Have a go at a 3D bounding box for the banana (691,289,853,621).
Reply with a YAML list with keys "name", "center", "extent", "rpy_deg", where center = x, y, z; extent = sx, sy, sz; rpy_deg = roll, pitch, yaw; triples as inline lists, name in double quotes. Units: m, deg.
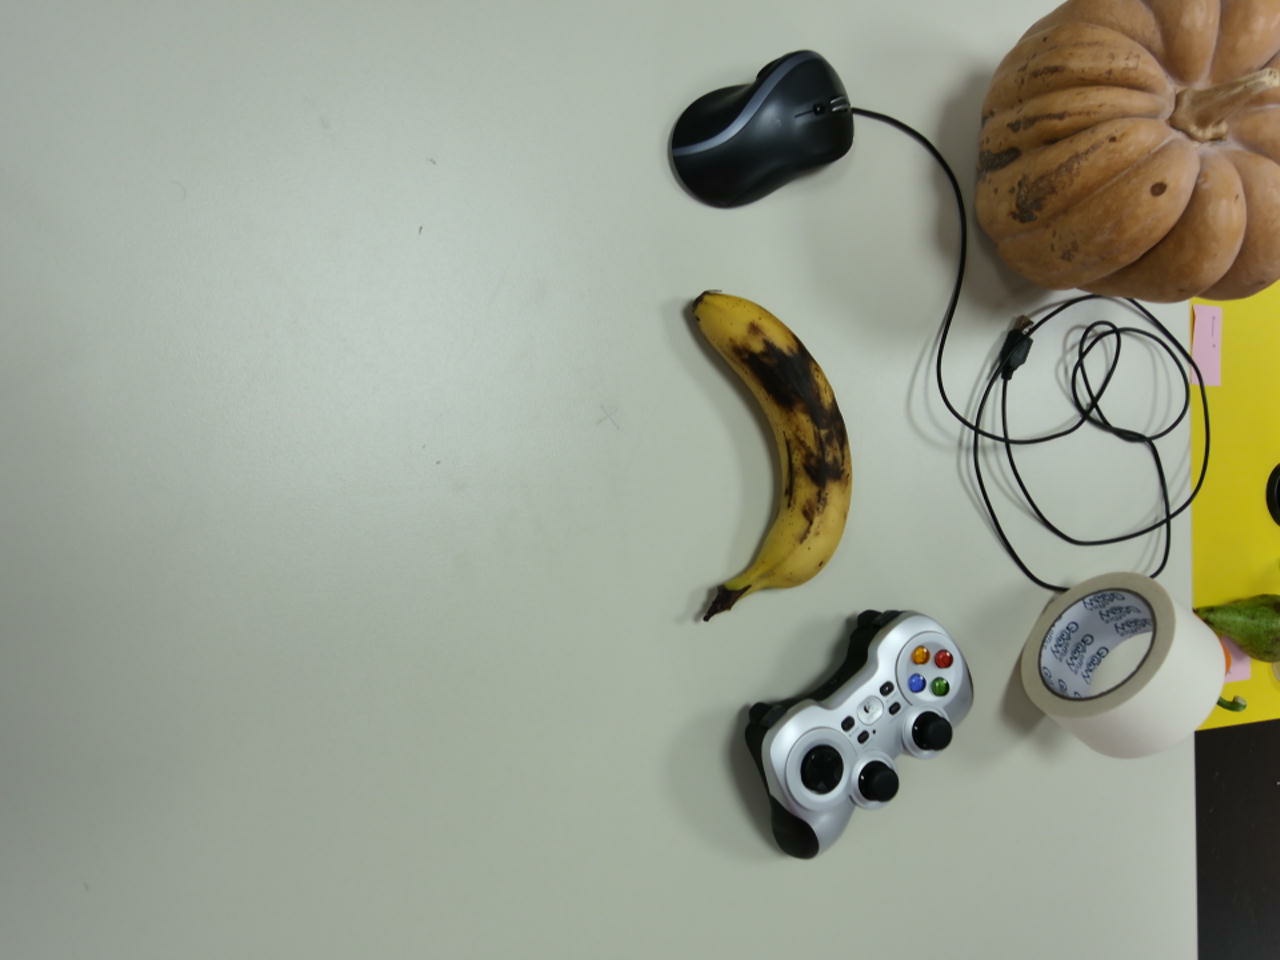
- name: "banana"
  center: [0.078, -0.017, 0.579]
  extent: [0.094, 0.039, 0.187]
  rpy_deg: [-1, 91, -22]
